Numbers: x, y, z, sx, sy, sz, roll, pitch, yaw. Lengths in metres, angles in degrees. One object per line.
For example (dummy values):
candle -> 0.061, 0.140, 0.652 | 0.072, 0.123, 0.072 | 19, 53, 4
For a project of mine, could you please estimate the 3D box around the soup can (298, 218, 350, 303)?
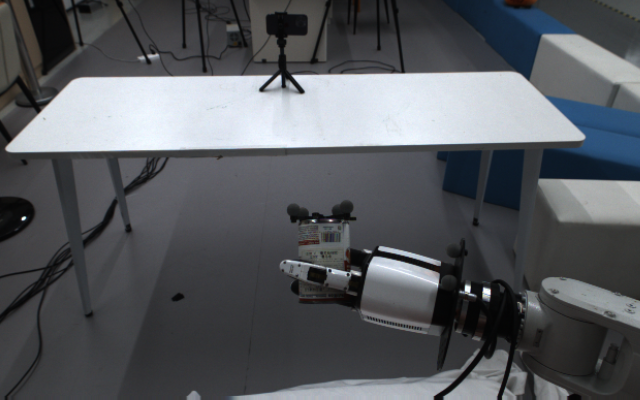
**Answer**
soup can -> 0.007, 0.079, 0.612 | 0.067, 0.101, 0.067 | -1, -9, 0
